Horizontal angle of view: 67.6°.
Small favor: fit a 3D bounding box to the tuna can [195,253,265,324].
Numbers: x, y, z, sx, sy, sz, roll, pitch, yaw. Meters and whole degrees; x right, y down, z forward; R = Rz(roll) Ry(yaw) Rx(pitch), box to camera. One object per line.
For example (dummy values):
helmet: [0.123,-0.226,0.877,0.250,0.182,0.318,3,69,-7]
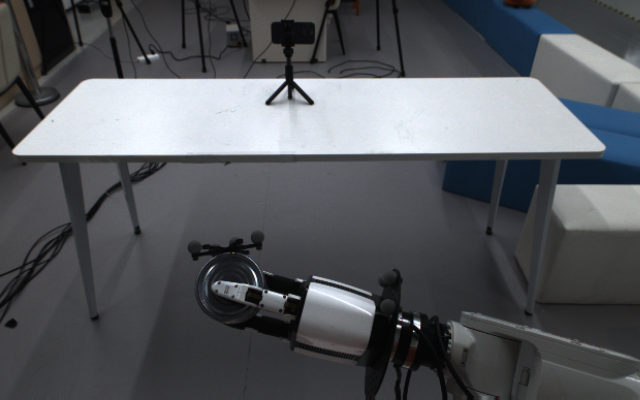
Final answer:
tuna can: [-0.104,0.113,0.592,0.085,0.034,0.085,0,72,-1]
